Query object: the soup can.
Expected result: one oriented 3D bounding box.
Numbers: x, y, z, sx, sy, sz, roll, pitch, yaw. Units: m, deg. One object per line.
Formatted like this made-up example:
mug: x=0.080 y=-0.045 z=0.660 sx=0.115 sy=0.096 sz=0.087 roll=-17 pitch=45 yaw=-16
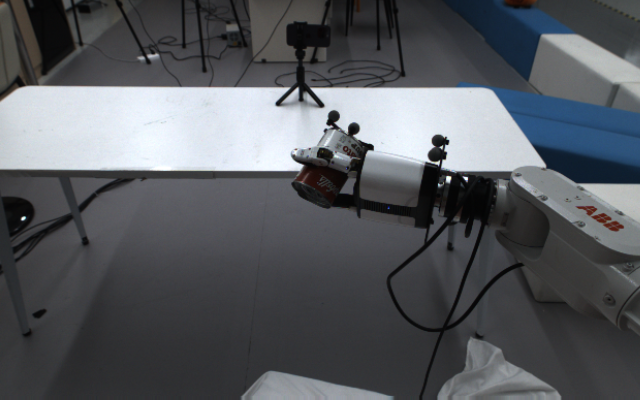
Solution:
soup can: x=0.013 y=-0.048 z=0.713 sx=0.067 sy=0.067 sz=0.101 roll=24 pitch=73 yaw=28
